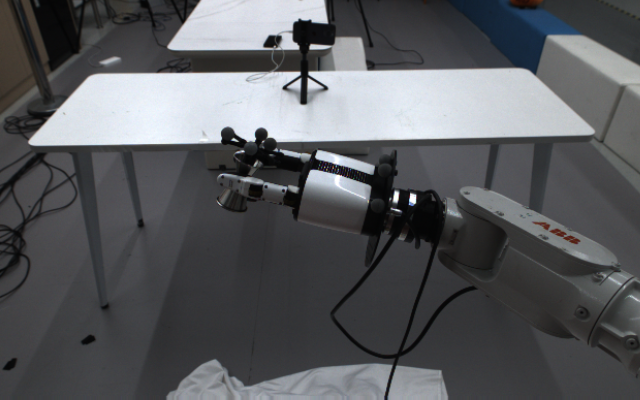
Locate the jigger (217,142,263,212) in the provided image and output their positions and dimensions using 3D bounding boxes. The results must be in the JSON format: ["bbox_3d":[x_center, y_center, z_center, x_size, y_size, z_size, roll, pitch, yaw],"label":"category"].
[{"bbox_3d":[-0.106,-0.023,0.639,0.043,0.071,0.043,23,19,-8],"label":"jigger"}]
